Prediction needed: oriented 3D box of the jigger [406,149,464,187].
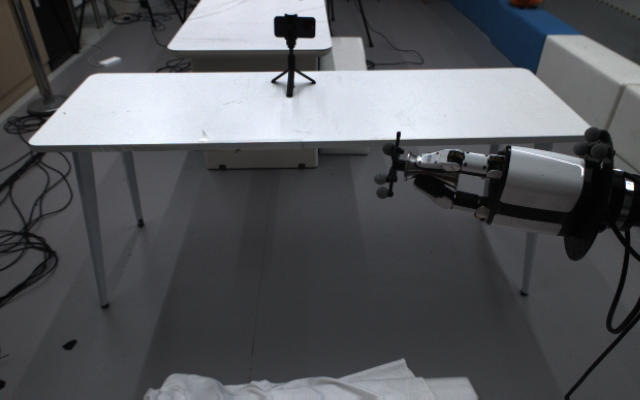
[{"bbox_3d":[0.154,-0.044,0.634,0.071,0.043,0.043,10,35,16],"label":"jigger"}]
